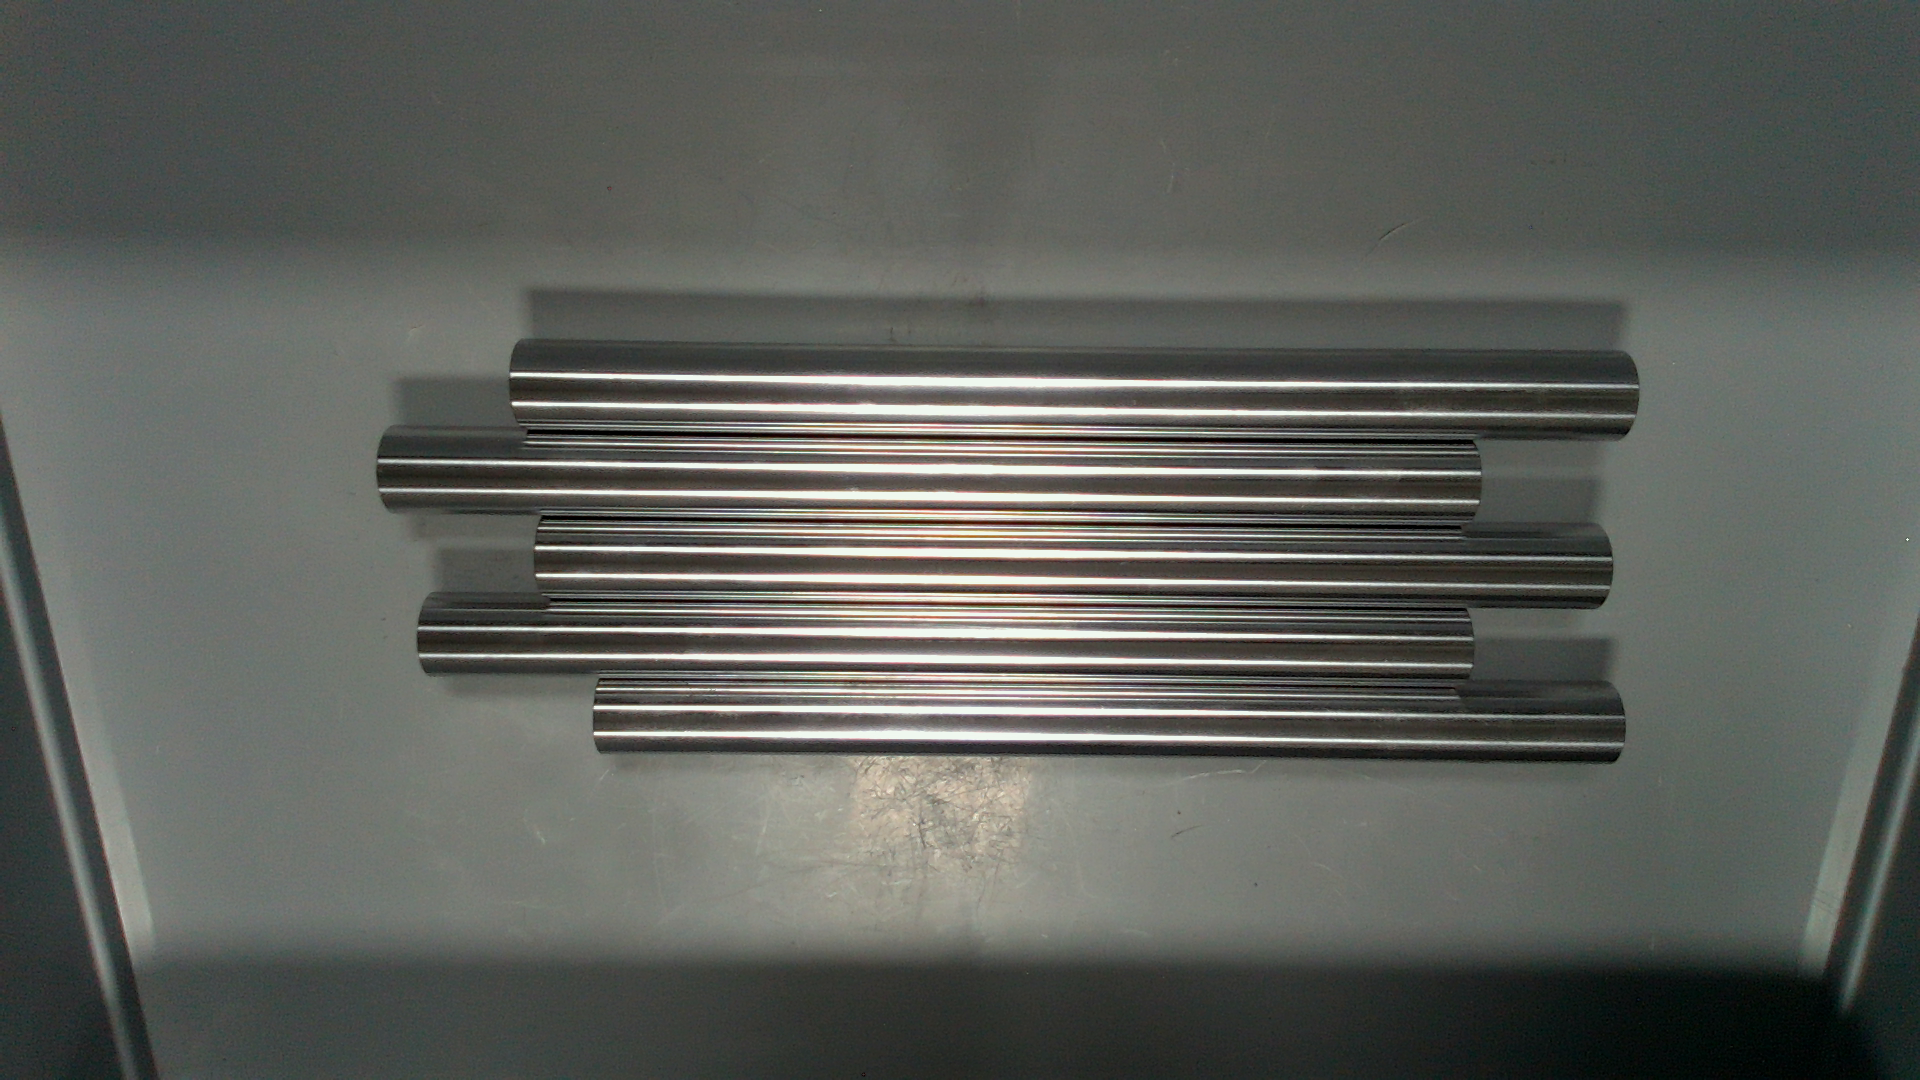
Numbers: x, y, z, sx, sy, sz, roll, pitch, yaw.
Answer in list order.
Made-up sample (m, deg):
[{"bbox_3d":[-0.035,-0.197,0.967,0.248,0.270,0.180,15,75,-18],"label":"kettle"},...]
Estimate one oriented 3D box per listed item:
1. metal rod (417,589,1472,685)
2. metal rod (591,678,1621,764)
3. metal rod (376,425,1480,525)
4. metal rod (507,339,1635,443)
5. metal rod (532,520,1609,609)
[{"bbox_3d":[-0.004,0.029,0.403,0.300,0.025,0.025,1,110,-1],"label":"metal rod"},{"bbox_3d":[0.043,0.053,0.413,0.300,0.025,0.025,1,110,-1],"label":"metal rod"},{"bbox_3d":[-0.008,-0.018,0.386,0.300,0.025,0.025,1,110,-1],"label":"metal rod"},{"bbox_3d":[0.030,-0.041,0.378,0.300,0.025,0.025,1,110,-1],"label":"metal rod"},{"bbox_3d":[0.031,0.006,0.395,0.300,0.025,0.025,1,110,-1],"label":"metal rod"}]
